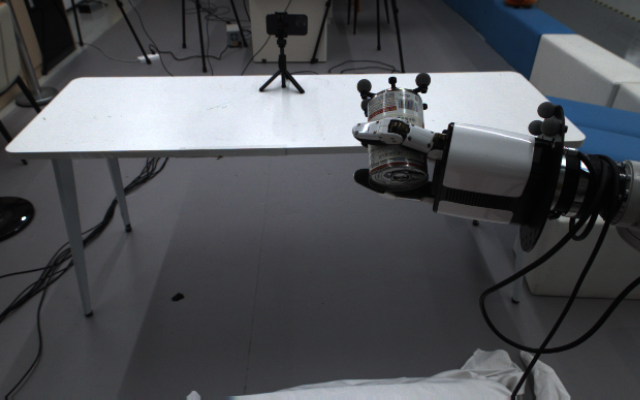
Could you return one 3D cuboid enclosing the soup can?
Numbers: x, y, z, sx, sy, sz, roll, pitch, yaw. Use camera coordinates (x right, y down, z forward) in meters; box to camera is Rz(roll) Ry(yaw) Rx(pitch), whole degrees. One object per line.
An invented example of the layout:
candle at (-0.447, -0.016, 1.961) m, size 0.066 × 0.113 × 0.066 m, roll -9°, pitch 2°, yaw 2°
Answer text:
soup can at (0.090, -0.069, 0.561) m, size 0.067 × 0.067 × 0.101 m, roll 2°, pitch 68°, yaw -1°
